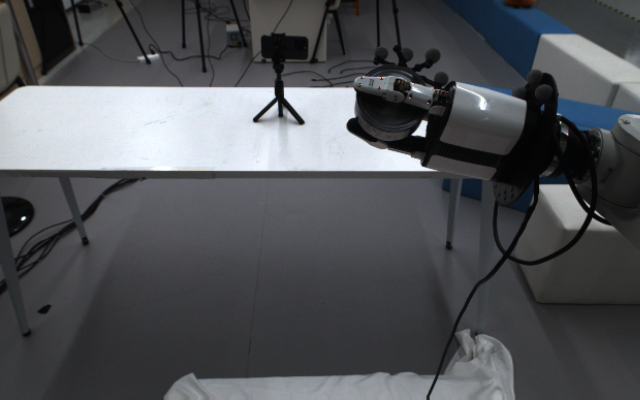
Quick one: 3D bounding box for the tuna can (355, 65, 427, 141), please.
[{"bbox_3d":[0.086,-0.117,0.576,0.085,0.034,0.085,0,72,0],"label":"tuna can"}]
